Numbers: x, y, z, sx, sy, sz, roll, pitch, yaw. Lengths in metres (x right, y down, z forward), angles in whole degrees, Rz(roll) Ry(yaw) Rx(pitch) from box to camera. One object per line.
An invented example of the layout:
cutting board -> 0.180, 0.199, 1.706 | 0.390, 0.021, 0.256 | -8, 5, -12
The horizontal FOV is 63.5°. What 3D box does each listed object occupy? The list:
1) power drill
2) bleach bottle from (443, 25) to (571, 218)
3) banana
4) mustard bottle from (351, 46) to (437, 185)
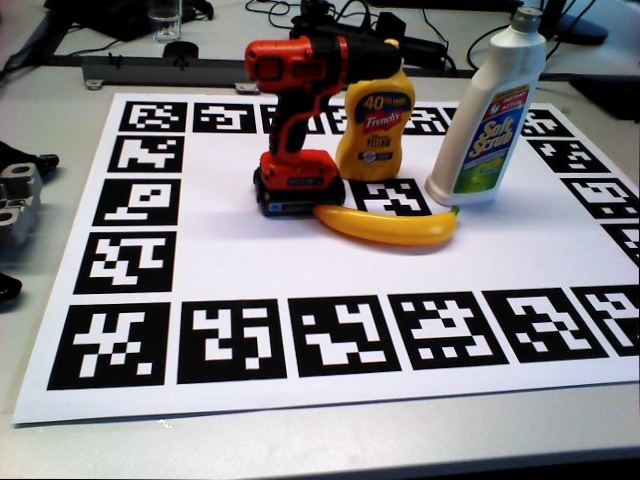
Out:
power drill -> 0.014, -0.138, 0.625 | 0.184, 0.188, 0.057 | -1, 36, -14
bleach bottle -> 0.242, -0.143, 0.663 | 0.102, 0.252, 0.067 | -6, 45, -16
banana -> 0.119, -0.015, 0.645 | 0.197, 0.039, 0.074 | 0, 46, -6
mustard bottle -> 0.104, -0.165, 0.698 | 0.096, 0.192, 0.058 | 1, 42, -10
